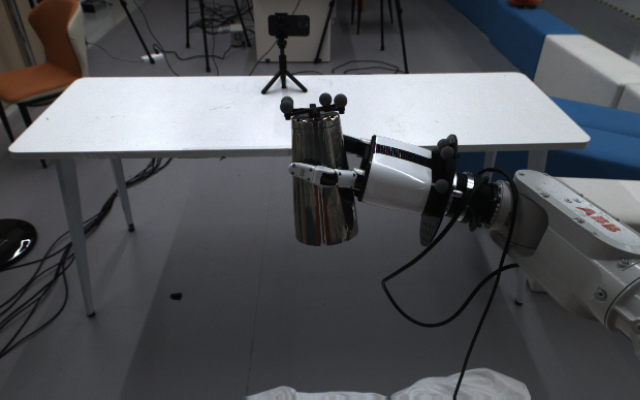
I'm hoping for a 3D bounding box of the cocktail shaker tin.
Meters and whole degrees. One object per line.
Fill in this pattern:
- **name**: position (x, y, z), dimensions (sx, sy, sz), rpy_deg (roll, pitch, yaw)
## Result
- **cocktail shaker tin**: position (0.002, -0.033, 0.672), dimensions (0.093, 0.170, 0.093), rpy_deg (-6, 19, 2)
